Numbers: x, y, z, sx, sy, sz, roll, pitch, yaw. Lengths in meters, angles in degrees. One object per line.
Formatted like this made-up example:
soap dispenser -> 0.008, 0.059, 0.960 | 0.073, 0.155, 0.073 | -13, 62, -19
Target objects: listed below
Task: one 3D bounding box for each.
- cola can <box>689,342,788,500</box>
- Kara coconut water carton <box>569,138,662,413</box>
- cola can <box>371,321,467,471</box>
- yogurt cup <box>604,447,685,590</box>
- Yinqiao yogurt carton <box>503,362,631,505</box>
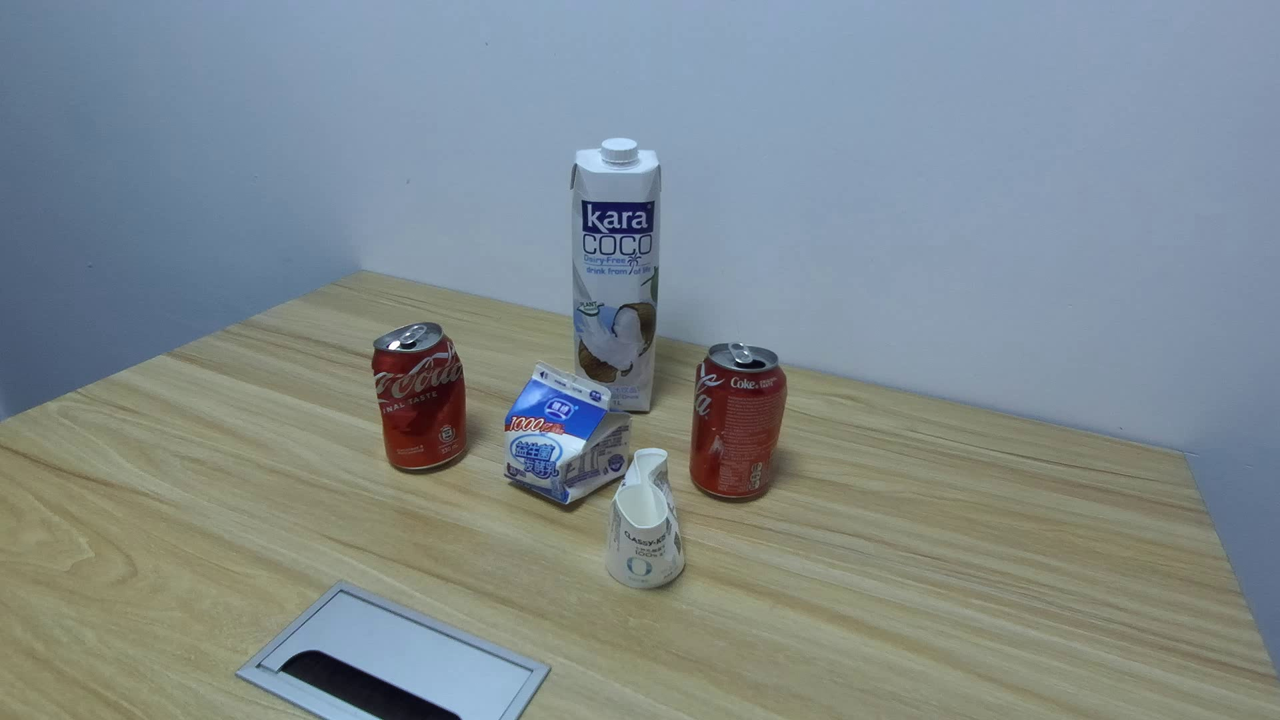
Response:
cola can -> 0.073, 0.048, 0.552 | 0.072, 0.117, 0.065 | 13, 30, 20
Kara coconut water carton -> -0.022, -0.072, 0.633 | 0.077, 0.245, 0.075 | 0, 26, -3
cola can -> -0.179, 0.030, 0.579 | 0.069, 0.112, 0.065 | -10, 29, -21
yogurt cup -> 0.005, 0.110, 0.477 | 0.054, 0.071, 0.075 | -9, 30, -20
Yinqiao yogurt carton -> -0.056, 0.054, 0.552 | 0.074, 0.097, 0.080 | 17, 24, 27
